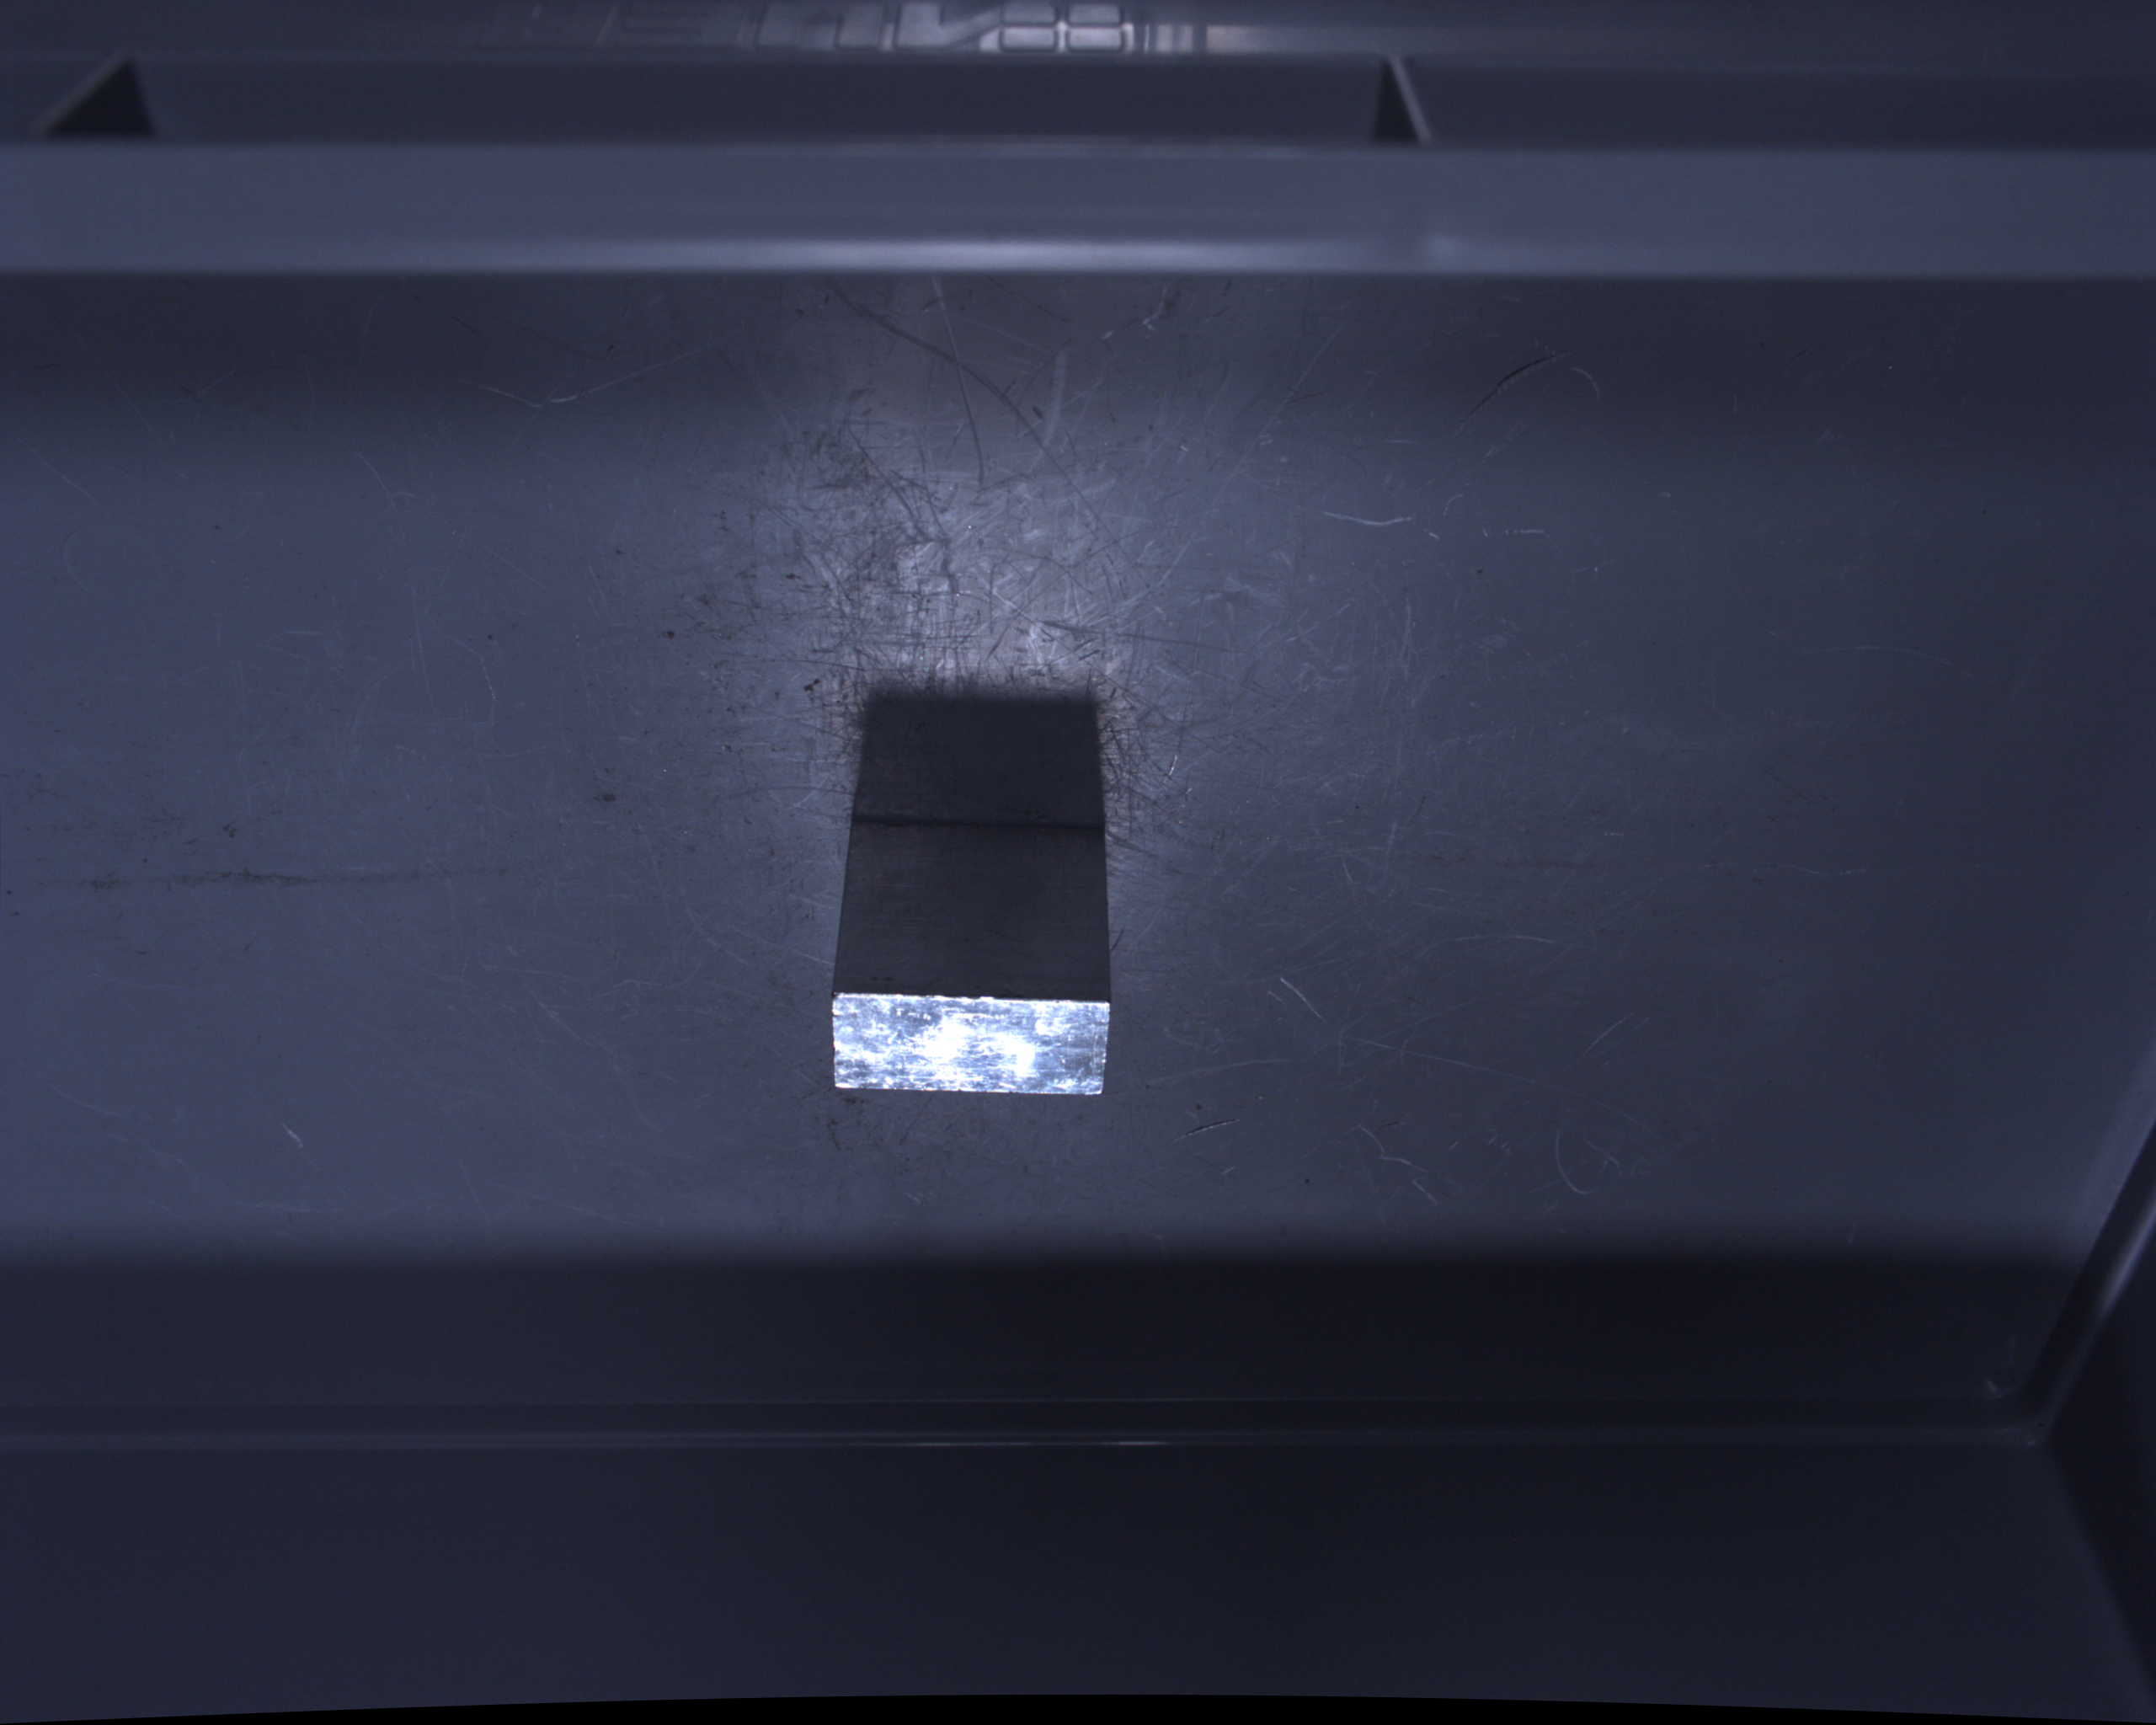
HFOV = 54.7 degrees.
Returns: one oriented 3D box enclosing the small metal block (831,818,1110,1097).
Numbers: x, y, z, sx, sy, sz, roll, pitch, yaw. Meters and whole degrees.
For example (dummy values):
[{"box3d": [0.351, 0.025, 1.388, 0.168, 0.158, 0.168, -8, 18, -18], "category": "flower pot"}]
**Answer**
[{"box3d": [-0.020, 0.018, 0.403, 0.050, 0.050, 0.025, 2, 130, -3], "category": "small metal block"}]
